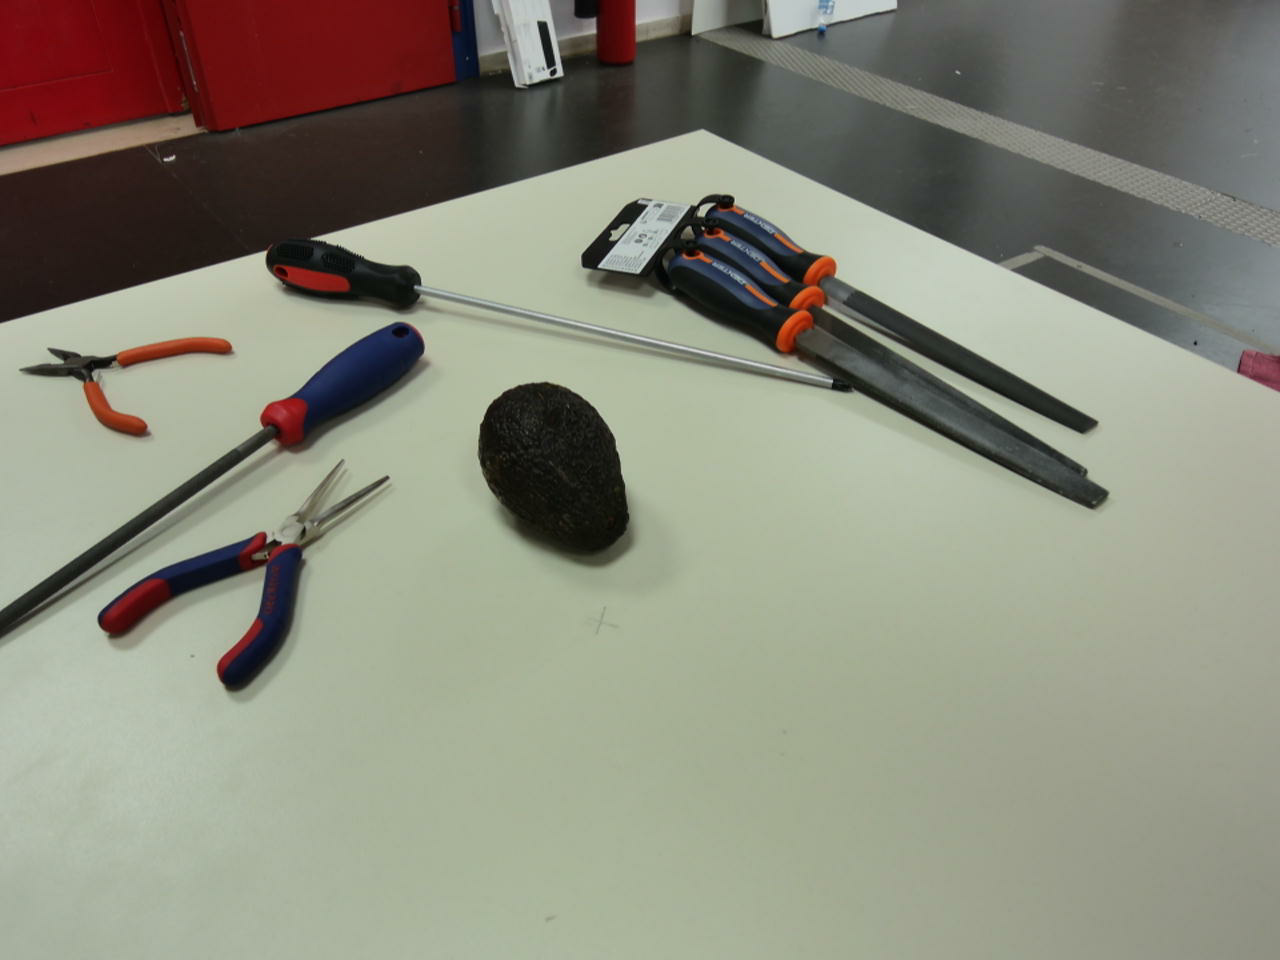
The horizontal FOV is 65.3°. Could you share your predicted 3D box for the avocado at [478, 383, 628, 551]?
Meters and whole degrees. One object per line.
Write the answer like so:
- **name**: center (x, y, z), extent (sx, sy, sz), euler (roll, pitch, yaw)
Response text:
- **avocado**: center (-0.045, -0.009, 0.505), extent (0.070, 0.069, 0.090), euler (-7, 38, -11)
